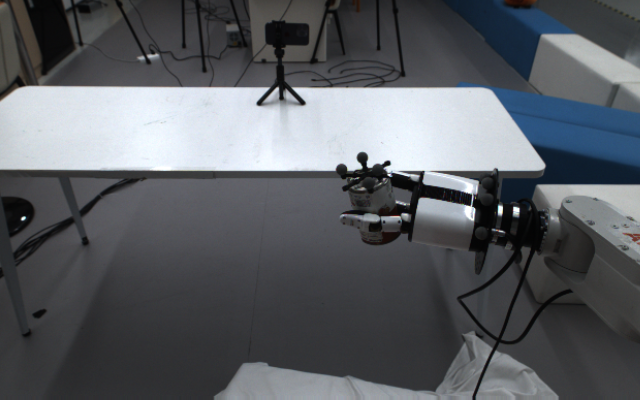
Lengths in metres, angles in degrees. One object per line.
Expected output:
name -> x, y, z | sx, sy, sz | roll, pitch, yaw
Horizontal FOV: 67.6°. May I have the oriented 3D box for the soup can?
soup can -> 0.085, 0.010, 0.745 | 0.067, 0.101, 0.067 | -13, 31, 8
